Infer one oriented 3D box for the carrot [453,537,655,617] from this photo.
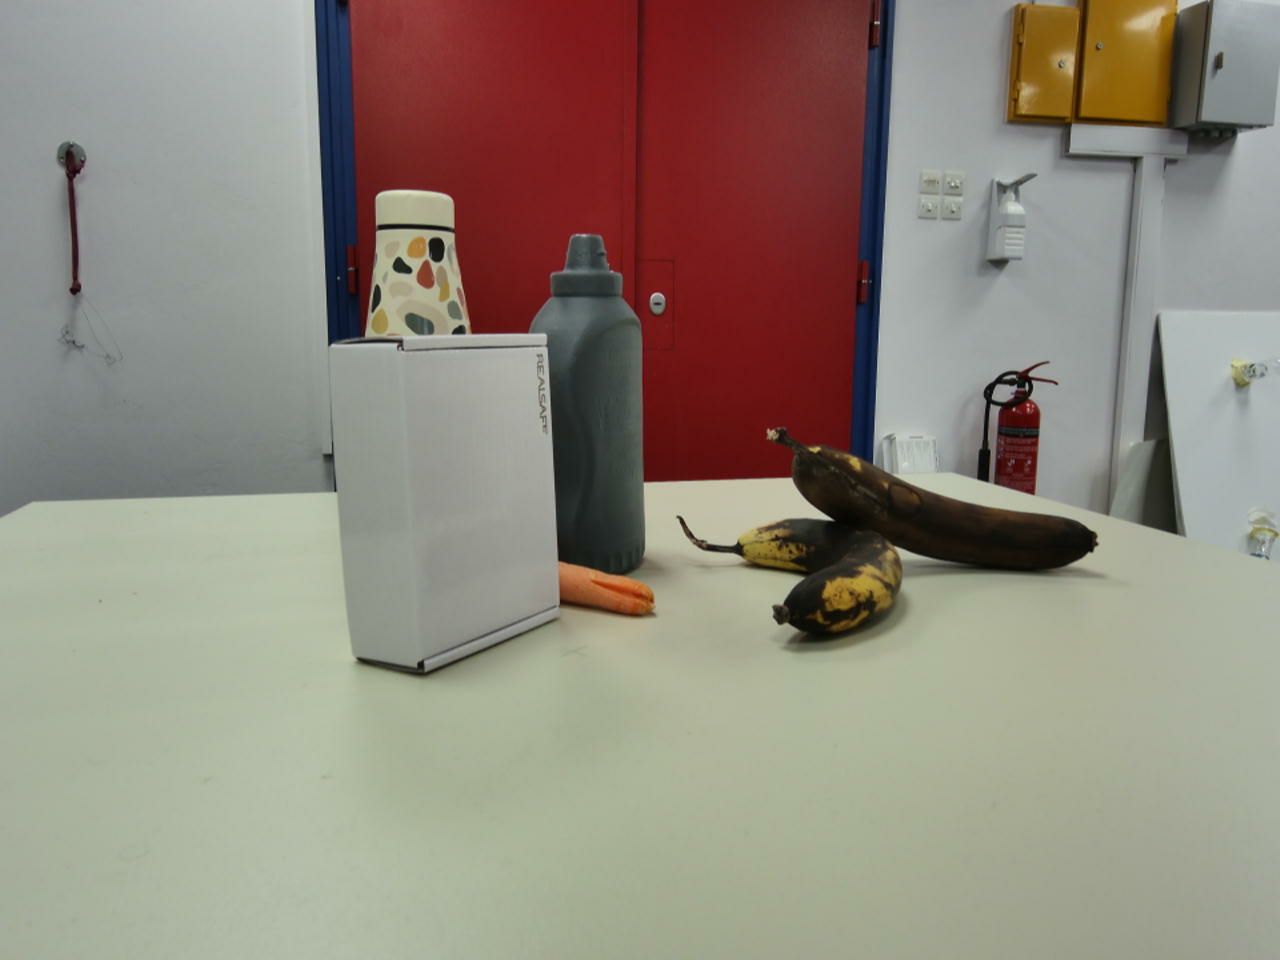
[{"bbox_3d":[-0.051,0.053,0.565,0.136,0.032,0.030,5,8,32],"label":"carrot"}]
